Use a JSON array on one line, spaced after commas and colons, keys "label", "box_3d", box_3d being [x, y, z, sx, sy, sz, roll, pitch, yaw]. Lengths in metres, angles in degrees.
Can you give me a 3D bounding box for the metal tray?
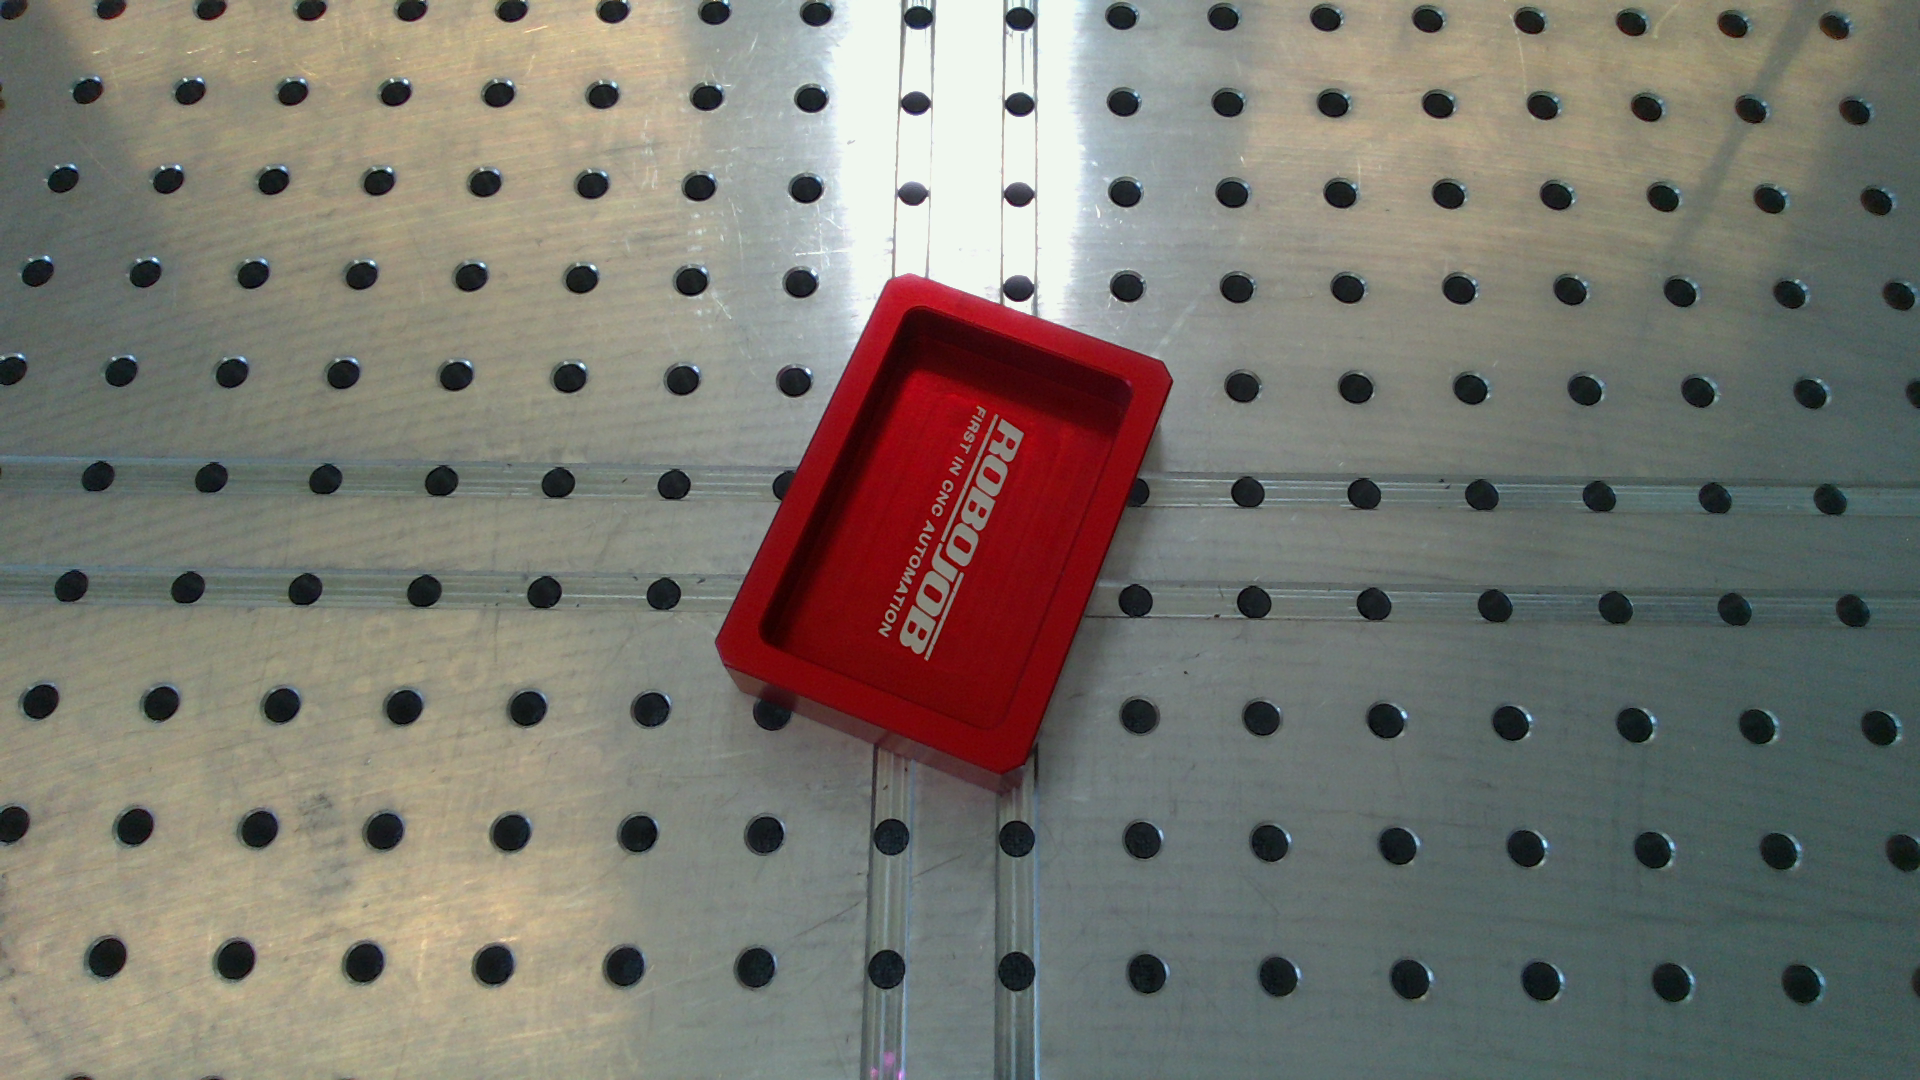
[{"label": "metal tray", "box_3d": [-0.002, -0.004, 0.396, 0.090, 0.030, 0.130, 21, 71, 7]}]
